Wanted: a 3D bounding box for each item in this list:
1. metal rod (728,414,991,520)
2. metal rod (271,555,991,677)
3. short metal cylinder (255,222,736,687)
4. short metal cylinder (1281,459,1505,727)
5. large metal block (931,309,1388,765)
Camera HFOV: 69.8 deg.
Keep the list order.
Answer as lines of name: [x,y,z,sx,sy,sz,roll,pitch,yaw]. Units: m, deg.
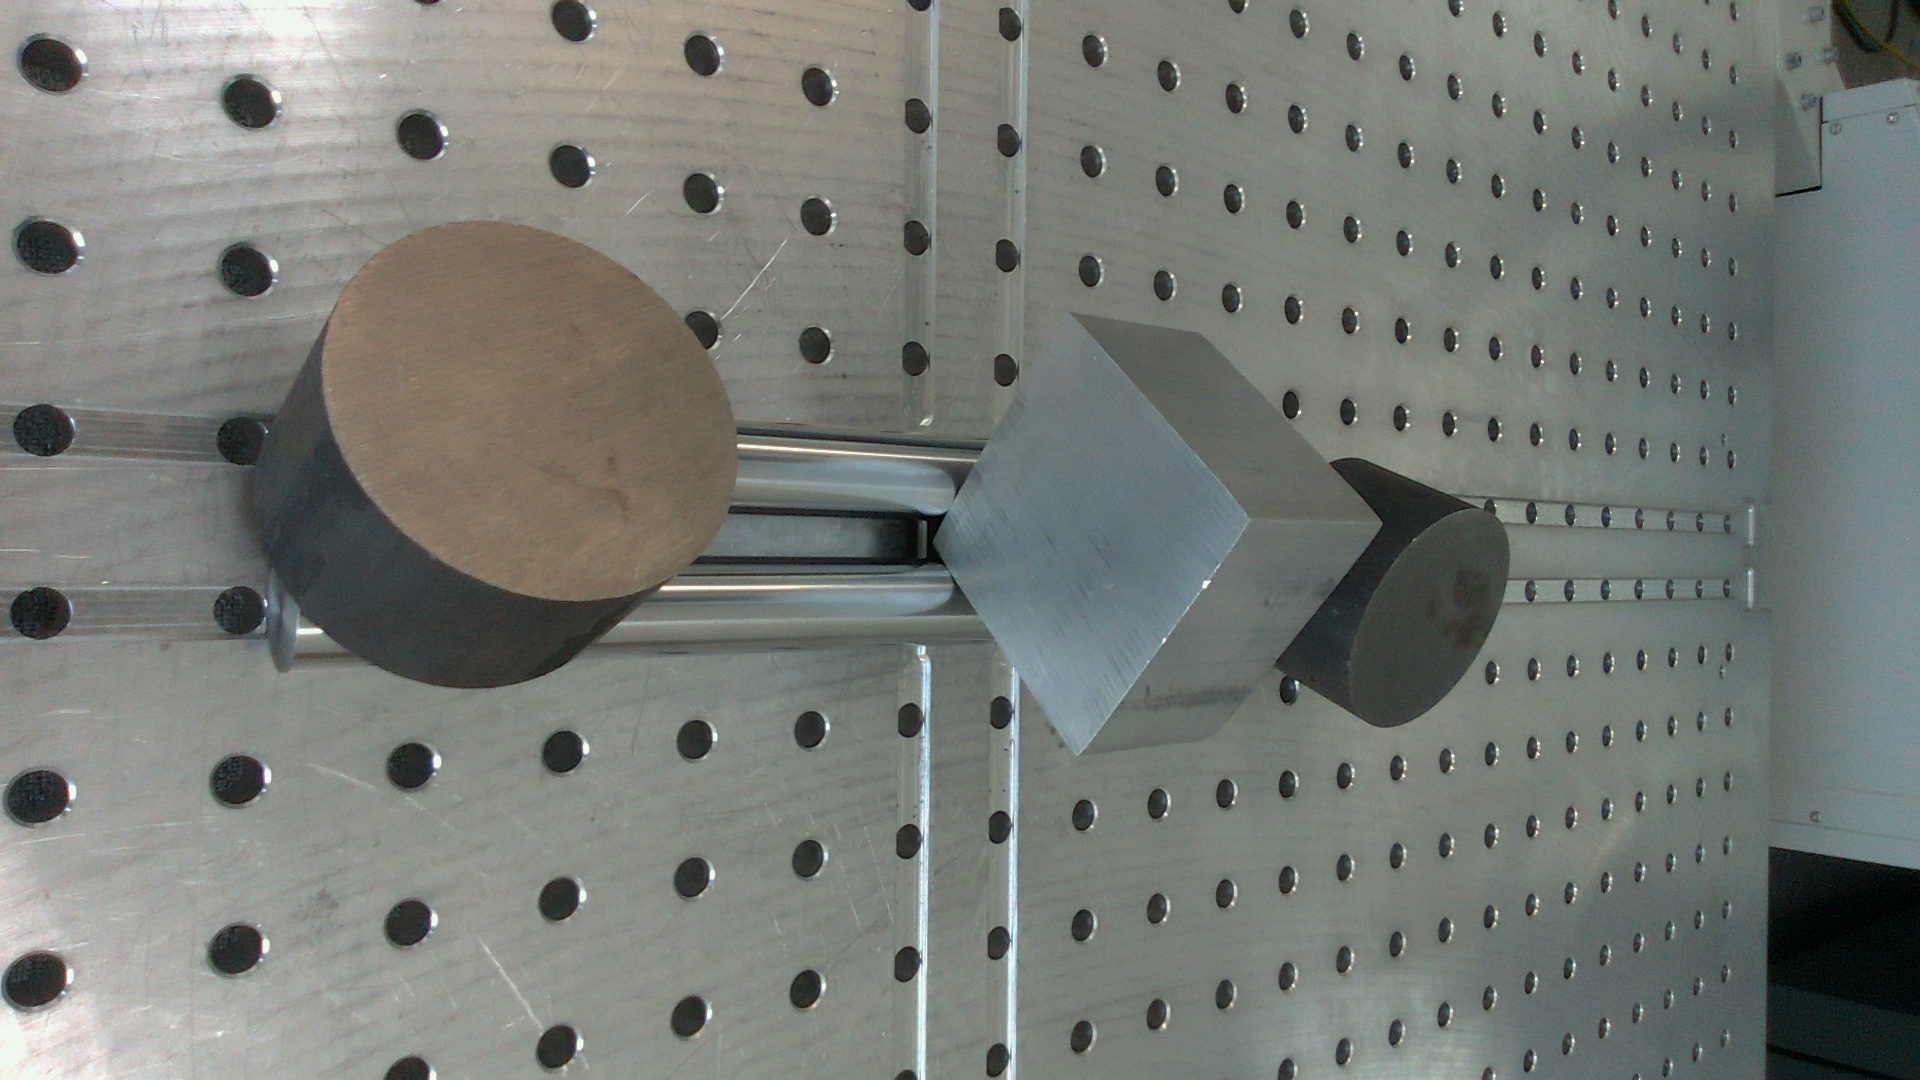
metal rod: [0.037,-0.017,0.422,0.301,0.025,0.025,1,89,-40]
metal rod: [-0.020,0.017,0.374,0.301,0.025,0.025,1,89,-40]
short metal cylinder: [-0.093,-0.016,0.279,0.080,0.050,0.080,20,56,-31]
short metal cylinder: [0.142,0.017,0.477,0.080,0.050,0.080,-19,123,-31]
large metal block: [0.047,-0.001,0.357,0.050,0.080,0.080,1,131,-40]
